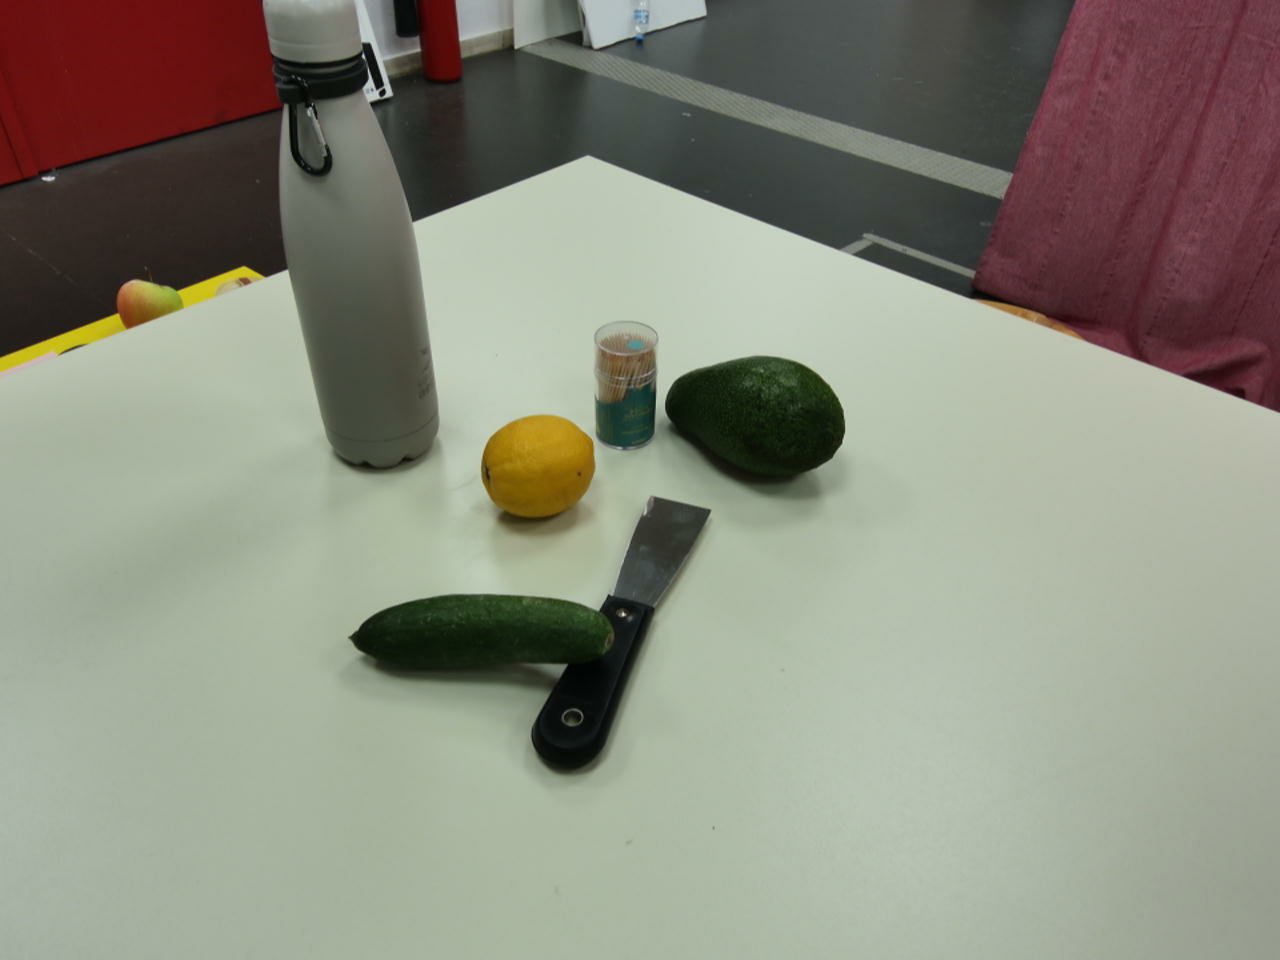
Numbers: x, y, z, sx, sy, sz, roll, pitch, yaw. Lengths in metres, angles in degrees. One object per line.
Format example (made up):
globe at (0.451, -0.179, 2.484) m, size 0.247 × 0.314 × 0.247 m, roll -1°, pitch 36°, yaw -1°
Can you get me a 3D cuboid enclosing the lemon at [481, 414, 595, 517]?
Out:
lemon at (-0.060, -0.008, 0.585) m, size 0.067 × 0.059 × 0.060 m, roll -3°, pitch 38°, yaw -6°
